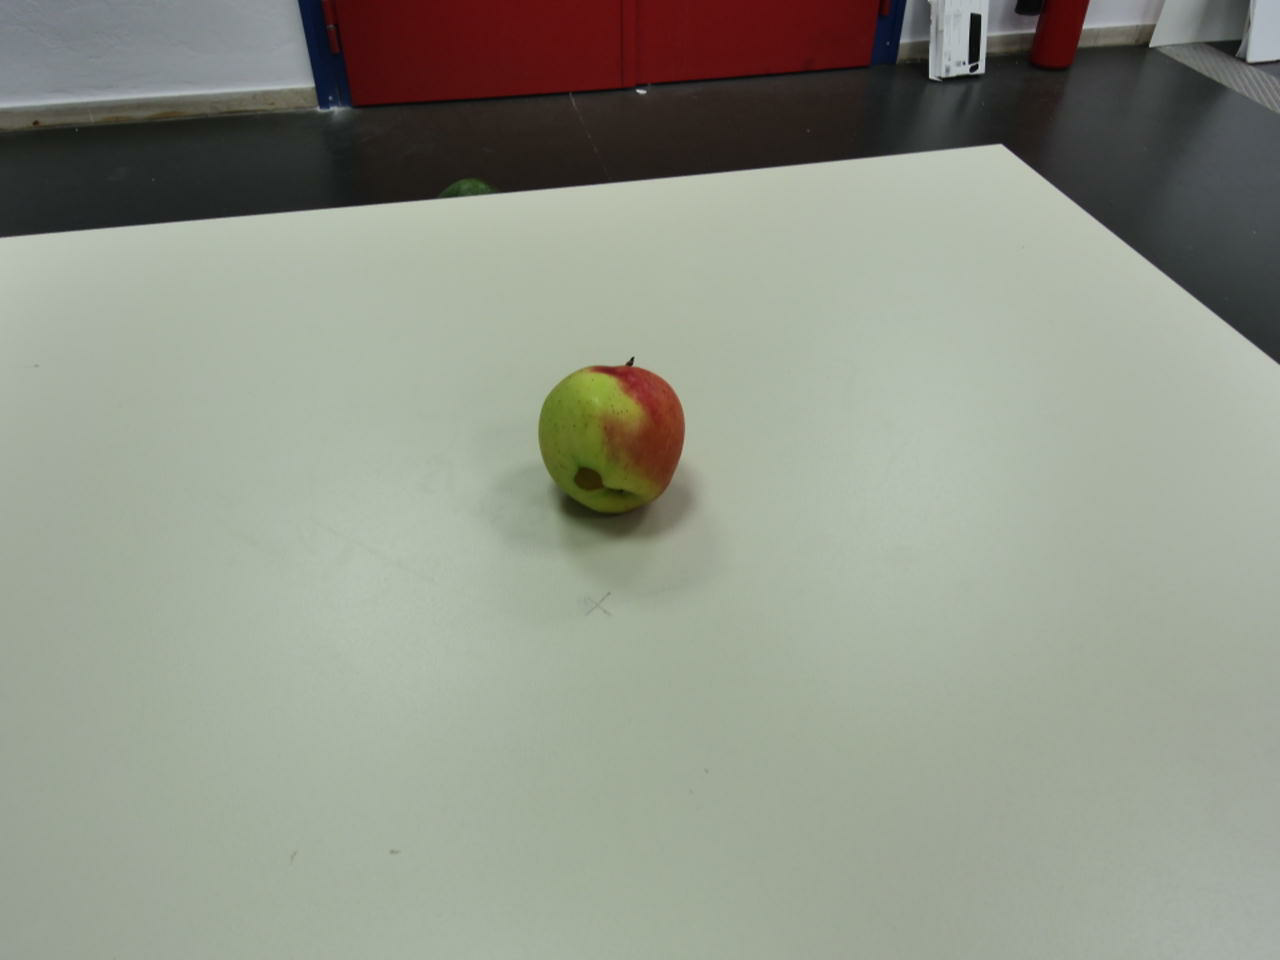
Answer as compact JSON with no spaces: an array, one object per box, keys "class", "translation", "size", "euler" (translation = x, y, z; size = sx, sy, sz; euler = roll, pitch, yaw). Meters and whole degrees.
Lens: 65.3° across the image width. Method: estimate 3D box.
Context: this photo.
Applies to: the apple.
[{"class":"apple","translation":[-0.013,-0.022,0.503],"size":[0.075,0.074,0.075],"euler":[-21,44,-25]}]
